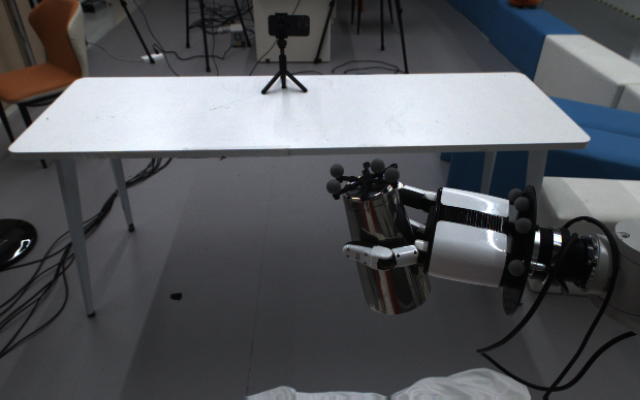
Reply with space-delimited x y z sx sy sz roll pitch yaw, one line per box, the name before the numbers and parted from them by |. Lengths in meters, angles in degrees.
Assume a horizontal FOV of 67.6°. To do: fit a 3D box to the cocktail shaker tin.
cocktail shaker tin | 0.083 0.053 0.624 0.093 0.170 0.093 -15 29 8
